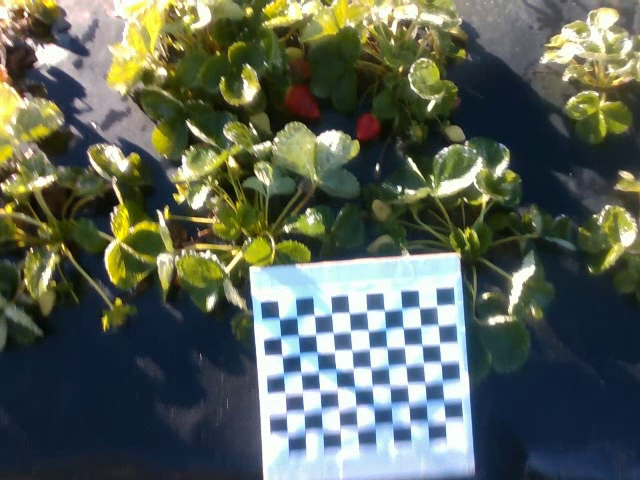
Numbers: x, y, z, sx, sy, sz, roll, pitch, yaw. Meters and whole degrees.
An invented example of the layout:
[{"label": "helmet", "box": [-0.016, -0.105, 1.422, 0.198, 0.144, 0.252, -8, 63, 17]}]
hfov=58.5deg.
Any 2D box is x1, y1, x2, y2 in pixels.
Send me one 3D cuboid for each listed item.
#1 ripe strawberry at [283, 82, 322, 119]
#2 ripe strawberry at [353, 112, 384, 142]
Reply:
[{"label": "ripe strawberry", "box": [-0.020, -0.190, 0.789, 0.044, 0.056, 0.040, -44, 5, -3]}, {"label": "ripe strawberry", "box": [0.067, -0.153, 0.784, 0.039, 0.047, 0.040, 35, -13, -6]}]
